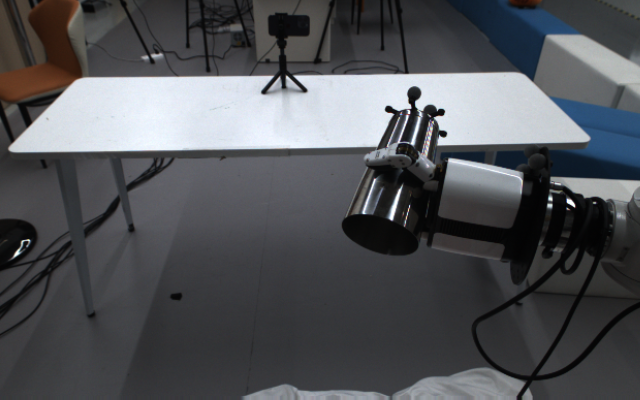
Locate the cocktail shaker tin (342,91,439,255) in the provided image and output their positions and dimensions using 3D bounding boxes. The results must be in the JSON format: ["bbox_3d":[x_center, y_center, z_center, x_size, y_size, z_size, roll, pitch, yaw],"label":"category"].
[{"bbox_3d":[0.095,-0.028,0.594,0.093,0.093,0.170,14,61,17],"label":"cocktail shaker tin"}]
